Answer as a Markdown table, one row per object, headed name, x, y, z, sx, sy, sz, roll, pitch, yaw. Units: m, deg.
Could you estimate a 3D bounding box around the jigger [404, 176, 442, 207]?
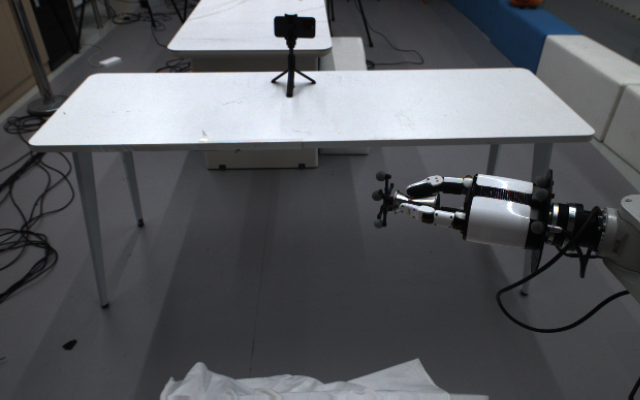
| name | x | y | z | sx | sy | sz | roll | pitch | yaw |
| --- | --- | --- | --- | --- | --- | --- | --- | --- | --- |
| jigger | 0.162 | 0.003 | 0.784 | 0.071 | 0.043 | 0.043 | 6 | 34 | 22 |
